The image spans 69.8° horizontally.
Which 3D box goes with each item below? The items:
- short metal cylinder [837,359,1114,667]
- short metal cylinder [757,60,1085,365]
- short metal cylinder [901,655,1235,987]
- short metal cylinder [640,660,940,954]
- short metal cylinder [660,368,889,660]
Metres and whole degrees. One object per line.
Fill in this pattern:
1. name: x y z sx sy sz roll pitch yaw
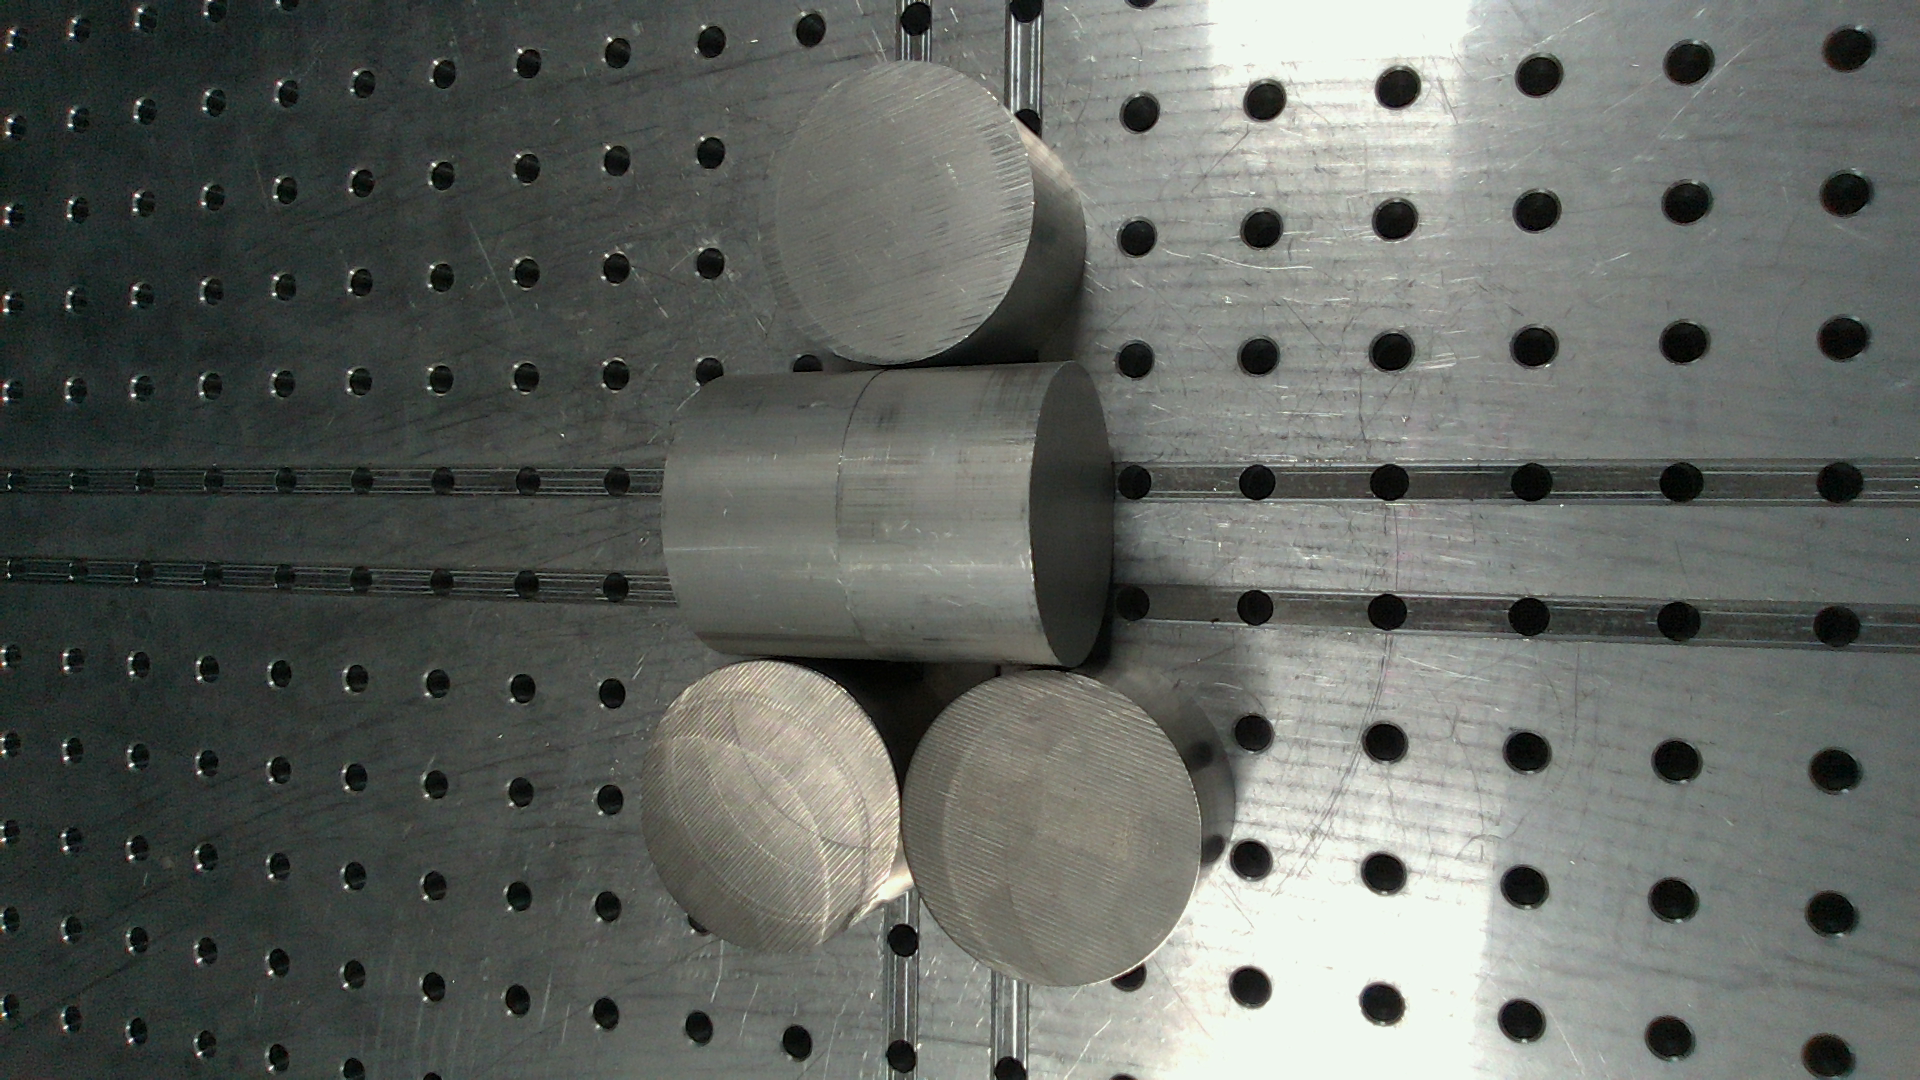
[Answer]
1. short metal cylinder: 0.007 -0.007 0.367 0.050 0.080 0.080 0 90 20
2. short metal cylinder: -0.010 -0.087 0.388 0.080 0.050 0.080 0 90 20
3. short metal cylinder: 0.031 0.073 0.373 0.080 0.050 0.080 0 90 20
4. short metal cylinder: -0.045 0.073 0.400 0.080 0.050 0.080 0 90 20
5. short metal cylinder: -0.040 -0.007 0.384 0.050 0.080 0.080 0 90 20
